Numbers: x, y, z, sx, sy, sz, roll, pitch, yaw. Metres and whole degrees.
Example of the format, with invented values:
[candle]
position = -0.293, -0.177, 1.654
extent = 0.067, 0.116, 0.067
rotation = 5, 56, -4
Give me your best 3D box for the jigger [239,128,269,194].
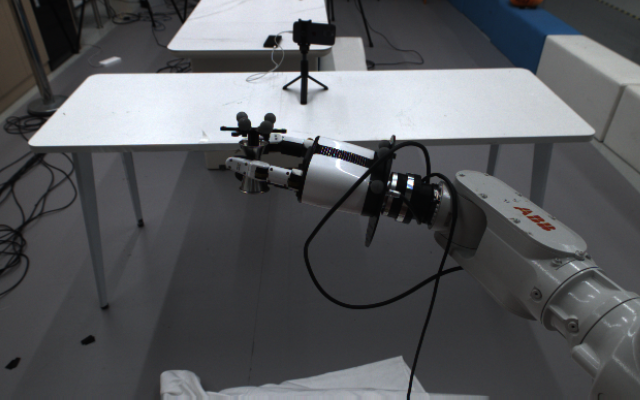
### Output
[jigger]
position = -0.092, -0.048, 0.678
extent = 0.043, 0.071, 0.043
rotation = 2, 20, -1
